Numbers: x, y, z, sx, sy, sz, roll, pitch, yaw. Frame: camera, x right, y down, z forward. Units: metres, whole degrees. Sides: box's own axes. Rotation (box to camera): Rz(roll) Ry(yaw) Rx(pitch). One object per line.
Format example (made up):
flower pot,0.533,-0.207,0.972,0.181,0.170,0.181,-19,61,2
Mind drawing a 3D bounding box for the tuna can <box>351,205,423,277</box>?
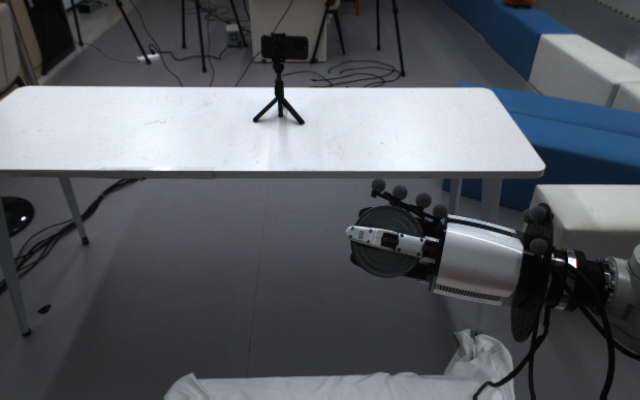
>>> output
tuna can,0.083,0.047,0.578,0.085,0.085,0.034,14,-7,16
